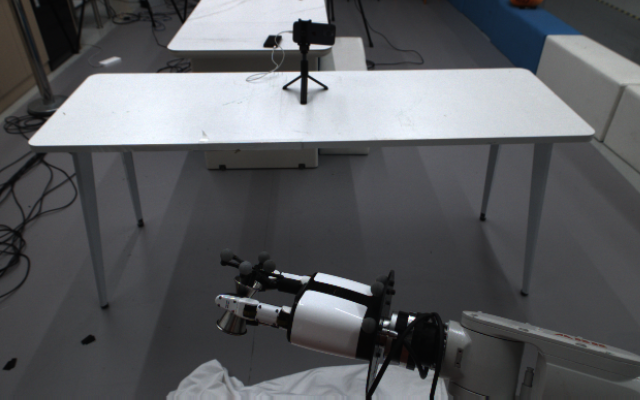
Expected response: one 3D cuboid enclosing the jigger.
[{"bbox_3d":[-0.108,0.138,0.644,0.043,0.071,0.043,22,6,-2],"label":"jigger"}]
